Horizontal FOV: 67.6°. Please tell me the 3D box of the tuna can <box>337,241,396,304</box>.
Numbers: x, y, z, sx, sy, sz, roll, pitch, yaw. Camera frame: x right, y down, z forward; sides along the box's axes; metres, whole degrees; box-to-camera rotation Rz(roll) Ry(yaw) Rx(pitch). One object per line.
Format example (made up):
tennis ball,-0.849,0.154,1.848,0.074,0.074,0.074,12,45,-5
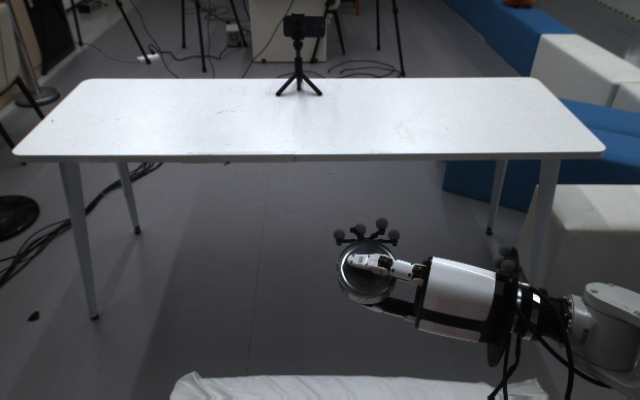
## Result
tuna can,0.067,0.101,0.678,0.085,0.034,0.085,-2,58,2
